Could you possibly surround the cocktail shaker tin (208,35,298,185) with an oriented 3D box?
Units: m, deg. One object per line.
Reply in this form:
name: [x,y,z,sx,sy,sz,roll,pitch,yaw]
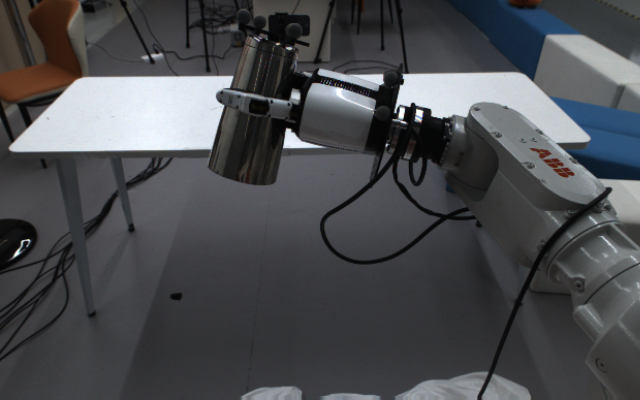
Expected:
cocktail shaker tin: [-0.080,-0.113,0.614,0.093,0.170,0.093,15,17,-5]
